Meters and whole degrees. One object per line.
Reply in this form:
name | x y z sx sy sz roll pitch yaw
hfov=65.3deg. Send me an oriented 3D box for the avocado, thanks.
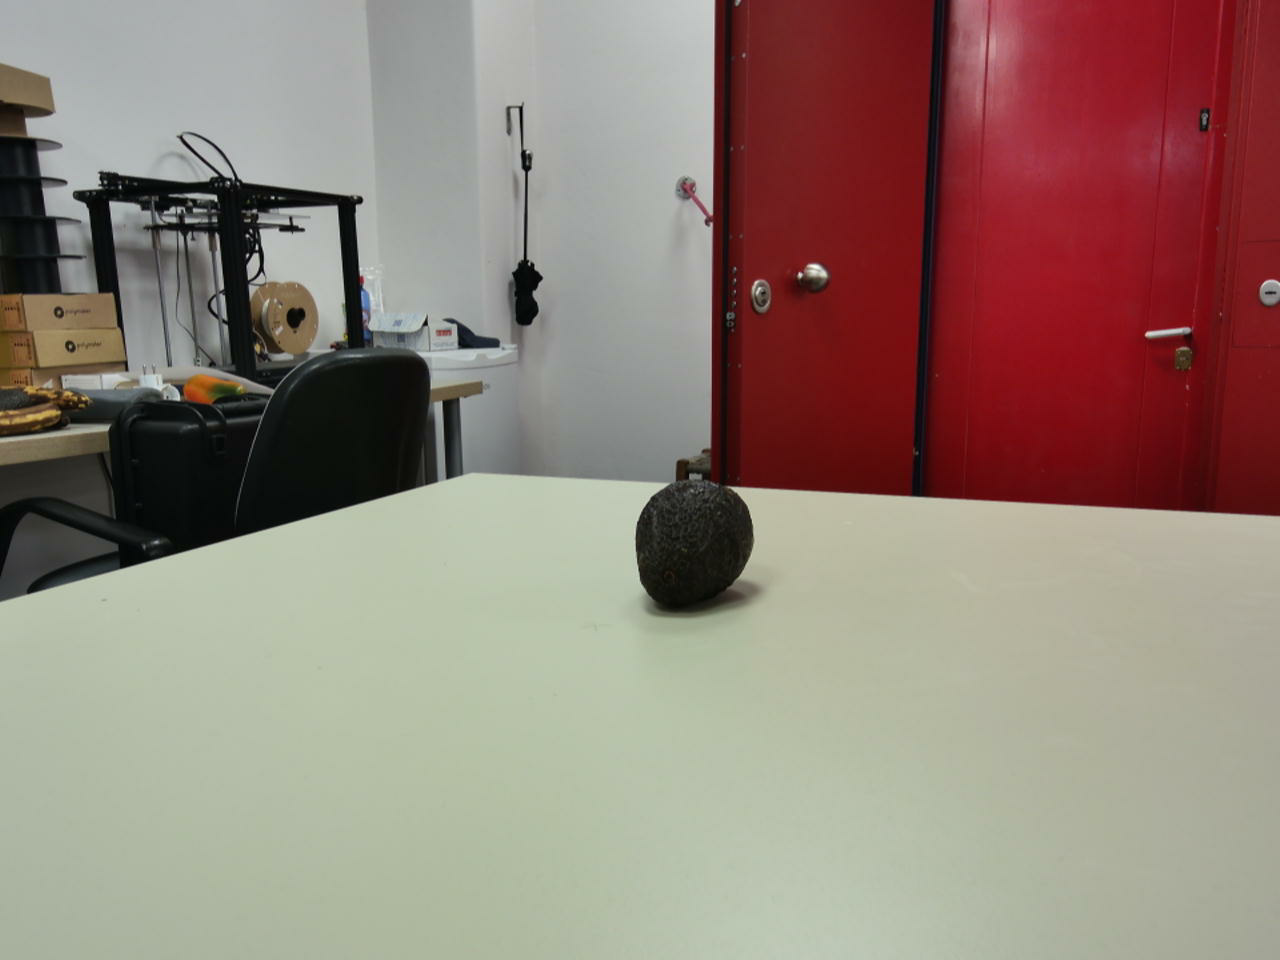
avocado | 0.029 0.035 0.594 0.090 0.069 0.070 -6 9 -41
